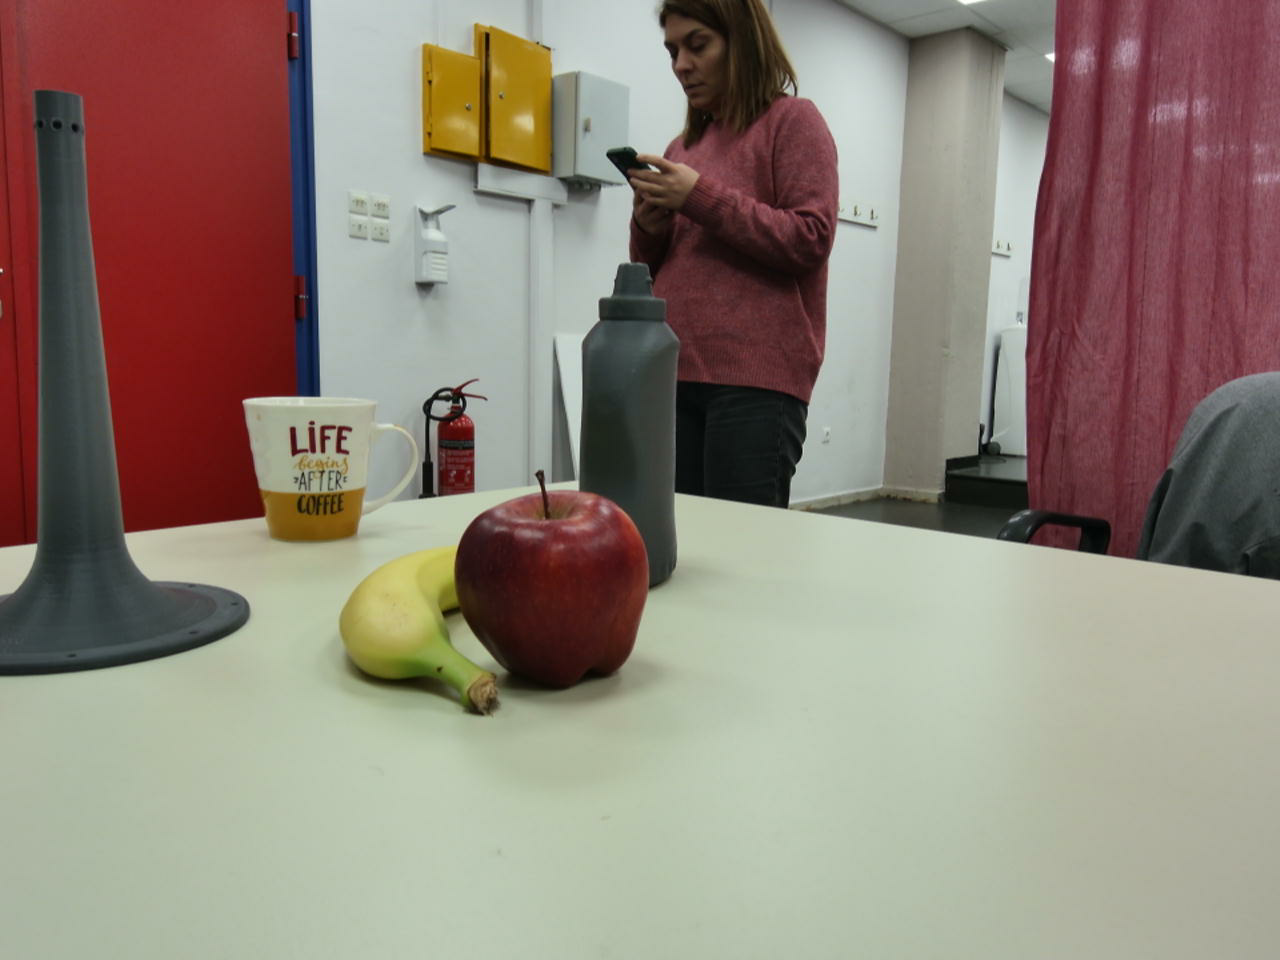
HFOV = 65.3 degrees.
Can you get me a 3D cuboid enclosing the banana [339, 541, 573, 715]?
[{"bbox_3d":[-0.094,0.060,0.488,0.094,0.041,0.196,2,6,6],"label":"banana"}]
